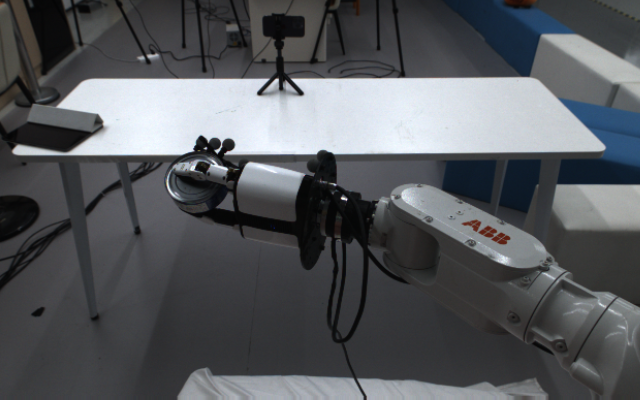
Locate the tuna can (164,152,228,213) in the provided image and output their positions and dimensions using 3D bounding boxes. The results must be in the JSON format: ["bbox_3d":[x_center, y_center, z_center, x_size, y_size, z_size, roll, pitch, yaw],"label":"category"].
[{"bbox_3d":[-0.174,-0.024,0.688,0.085,0.034,0.085,-1,59,2],"label":"tuna can"}]
